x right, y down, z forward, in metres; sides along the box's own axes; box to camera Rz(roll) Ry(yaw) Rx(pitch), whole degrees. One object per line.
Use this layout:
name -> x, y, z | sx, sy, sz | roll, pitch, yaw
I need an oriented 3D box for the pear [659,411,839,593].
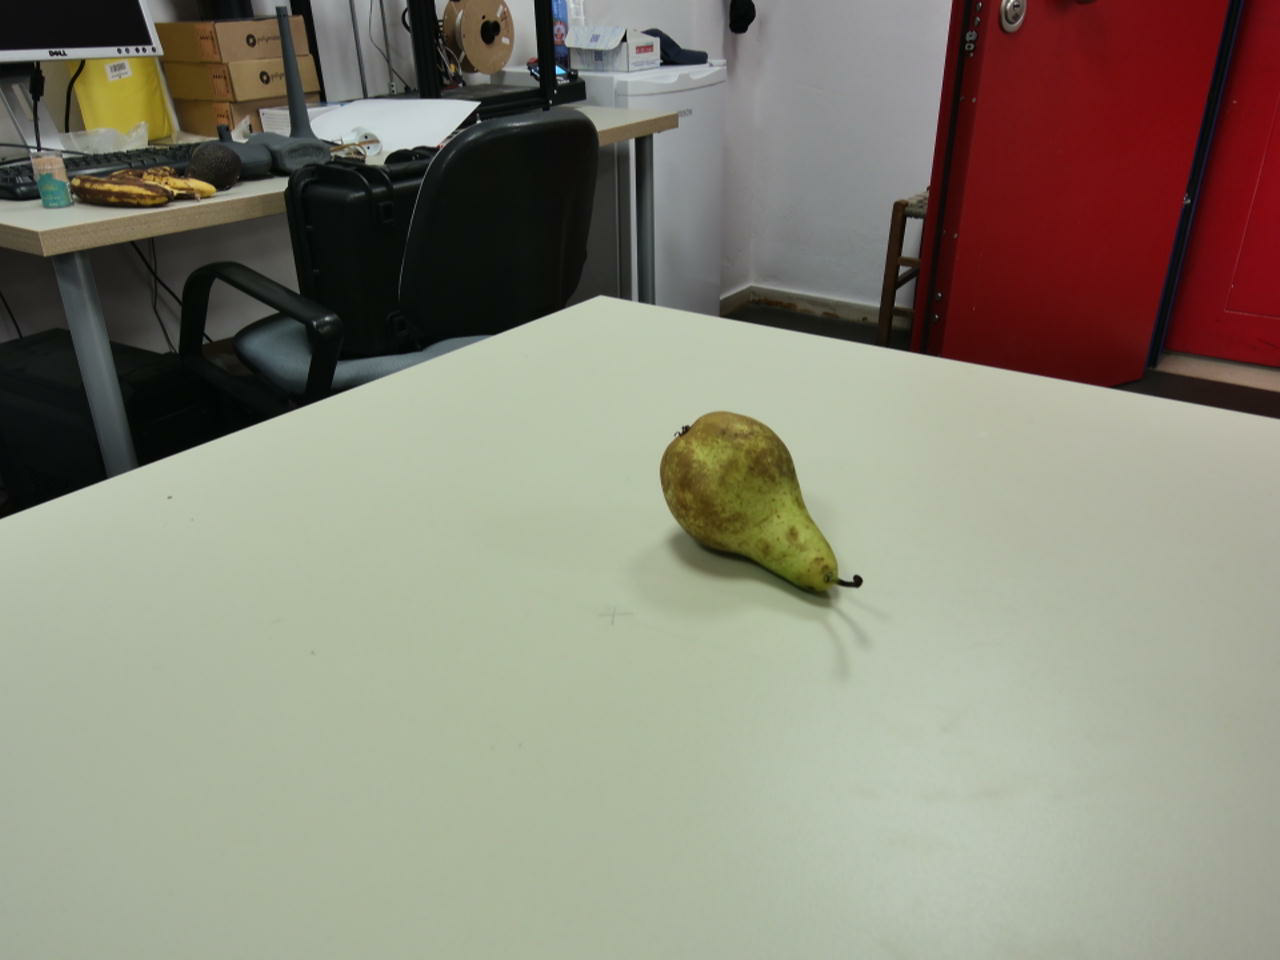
pear -> 0.073, 0.010, 0.524 | 0.144, 0.075, 0.071 | 21, 32, 39
